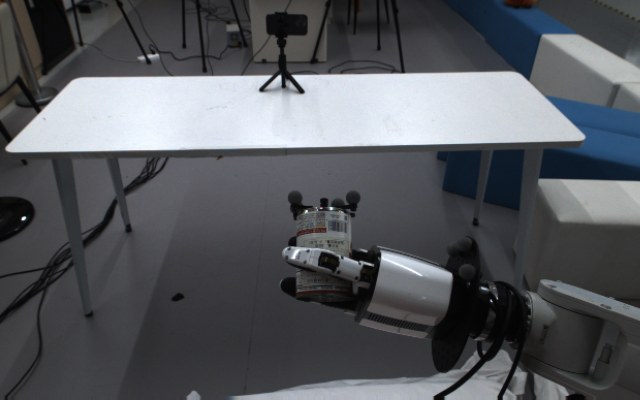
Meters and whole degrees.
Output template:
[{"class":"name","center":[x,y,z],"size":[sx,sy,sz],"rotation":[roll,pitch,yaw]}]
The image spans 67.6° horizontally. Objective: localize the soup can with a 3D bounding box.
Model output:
[{"class":"soup can","center":[0.006,0.066,0.569],"size":[0.067,0.067,0.101],"rotation":[1,72,-2]}]
